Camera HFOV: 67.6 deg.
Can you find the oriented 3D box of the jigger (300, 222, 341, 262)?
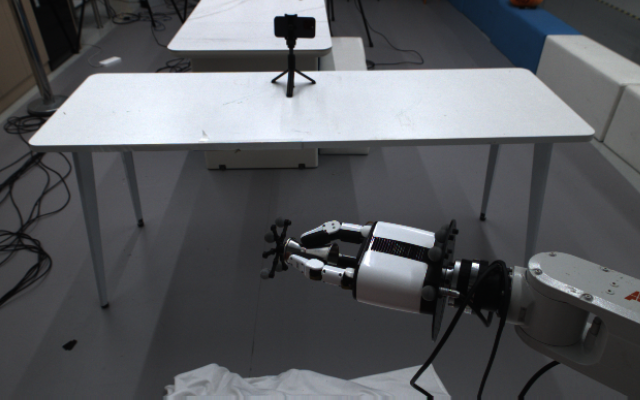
[{"bbox_3d":[-0.007,0.073,0.683,0.071,0.043,0.043,8,34,23],"label":"jigger"}]
